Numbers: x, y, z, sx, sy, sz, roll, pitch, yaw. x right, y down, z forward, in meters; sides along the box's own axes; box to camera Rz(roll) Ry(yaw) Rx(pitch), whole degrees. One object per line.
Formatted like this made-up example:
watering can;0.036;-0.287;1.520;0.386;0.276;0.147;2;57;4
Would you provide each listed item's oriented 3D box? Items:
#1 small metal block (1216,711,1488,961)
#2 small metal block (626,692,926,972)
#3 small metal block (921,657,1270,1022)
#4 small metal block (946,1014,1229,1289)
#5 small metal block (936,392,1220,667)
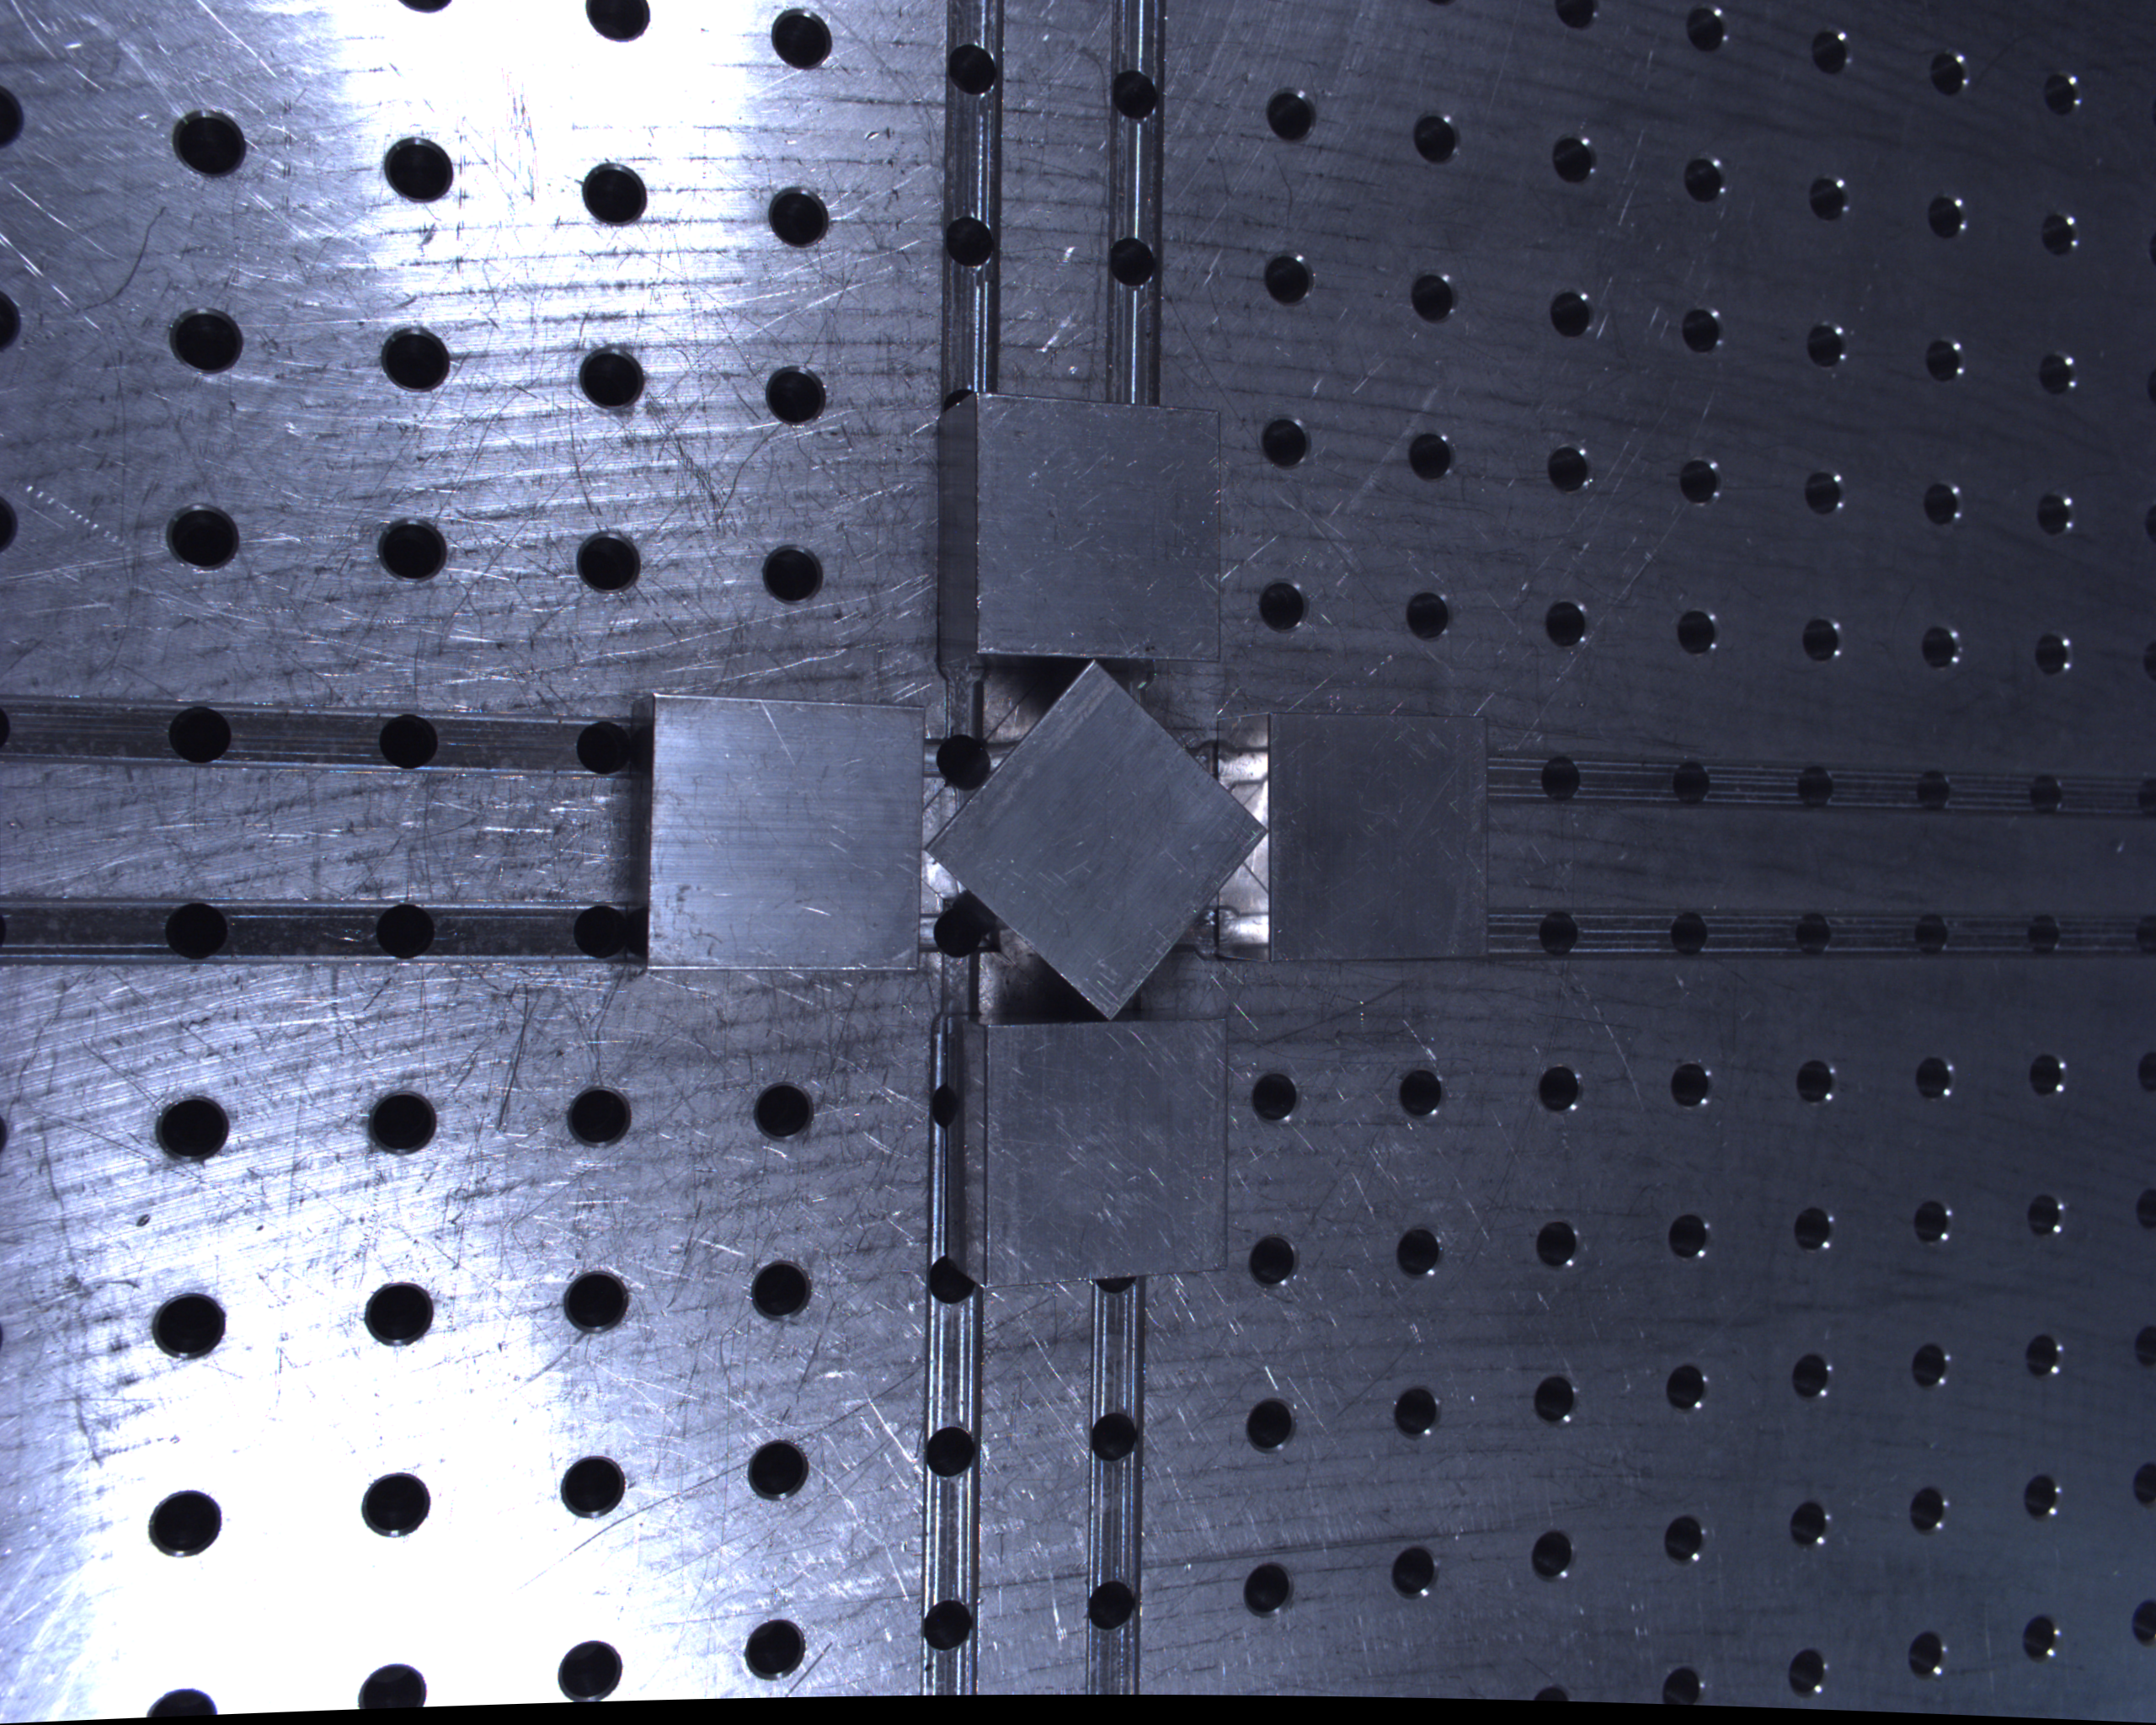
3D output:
small metal block;0.057;-0.006;0.435;0.050;0.025;0.050;0;90;-21
small metal block;-0.057;-0.005;0.392;0.050;0.025;0.050;1;90;-21
small metal block;0.001;-0.004;0.413;0.050;0.025;0.050;44;76;-15
small metal block;0.002;0.056;0.414;0.050;0.025;0.050;0;90;-21
small metal block;0.000;-0.064;0.413;0.050;0.025;0.050;-1;90;-21
